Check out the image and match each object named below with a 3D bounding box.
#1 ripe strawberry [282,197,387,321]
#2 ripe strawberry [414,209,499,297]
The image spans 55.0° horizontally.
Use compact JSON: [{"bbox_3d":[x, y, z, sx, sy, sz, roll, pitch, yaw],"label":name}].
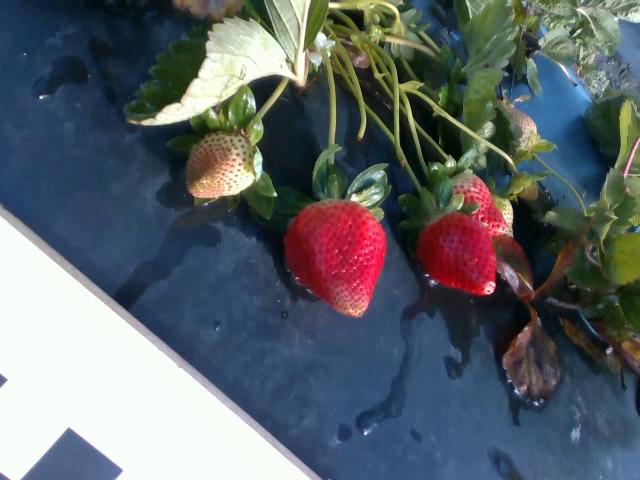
[{"bbox_3d":[0.009,0.009,0.261,0.050,0.050,0.065,4,35,-12],"label":"ripe strawberry"},{"bbox_3d":[0.073,0.011,0.318,0.044,0.042,0.055,-20,45,-11],"label":"ripe strawberry"}]
